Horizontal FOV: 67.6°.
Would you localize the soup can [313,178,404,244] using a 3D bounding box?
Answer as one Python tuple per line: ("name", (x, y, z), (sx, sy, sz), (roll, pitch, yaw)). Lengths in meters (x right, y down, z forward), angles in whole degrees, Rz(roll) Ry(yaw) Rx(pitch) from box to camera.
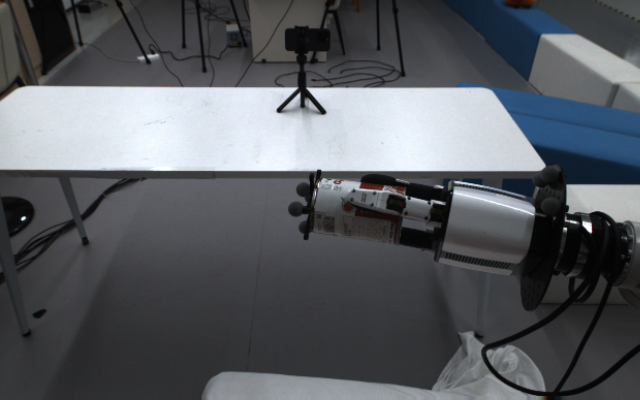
("soup can", (0.048, 0.012, 0.564), (0.101, 0.067, 0.067), (7, 35, 10))
